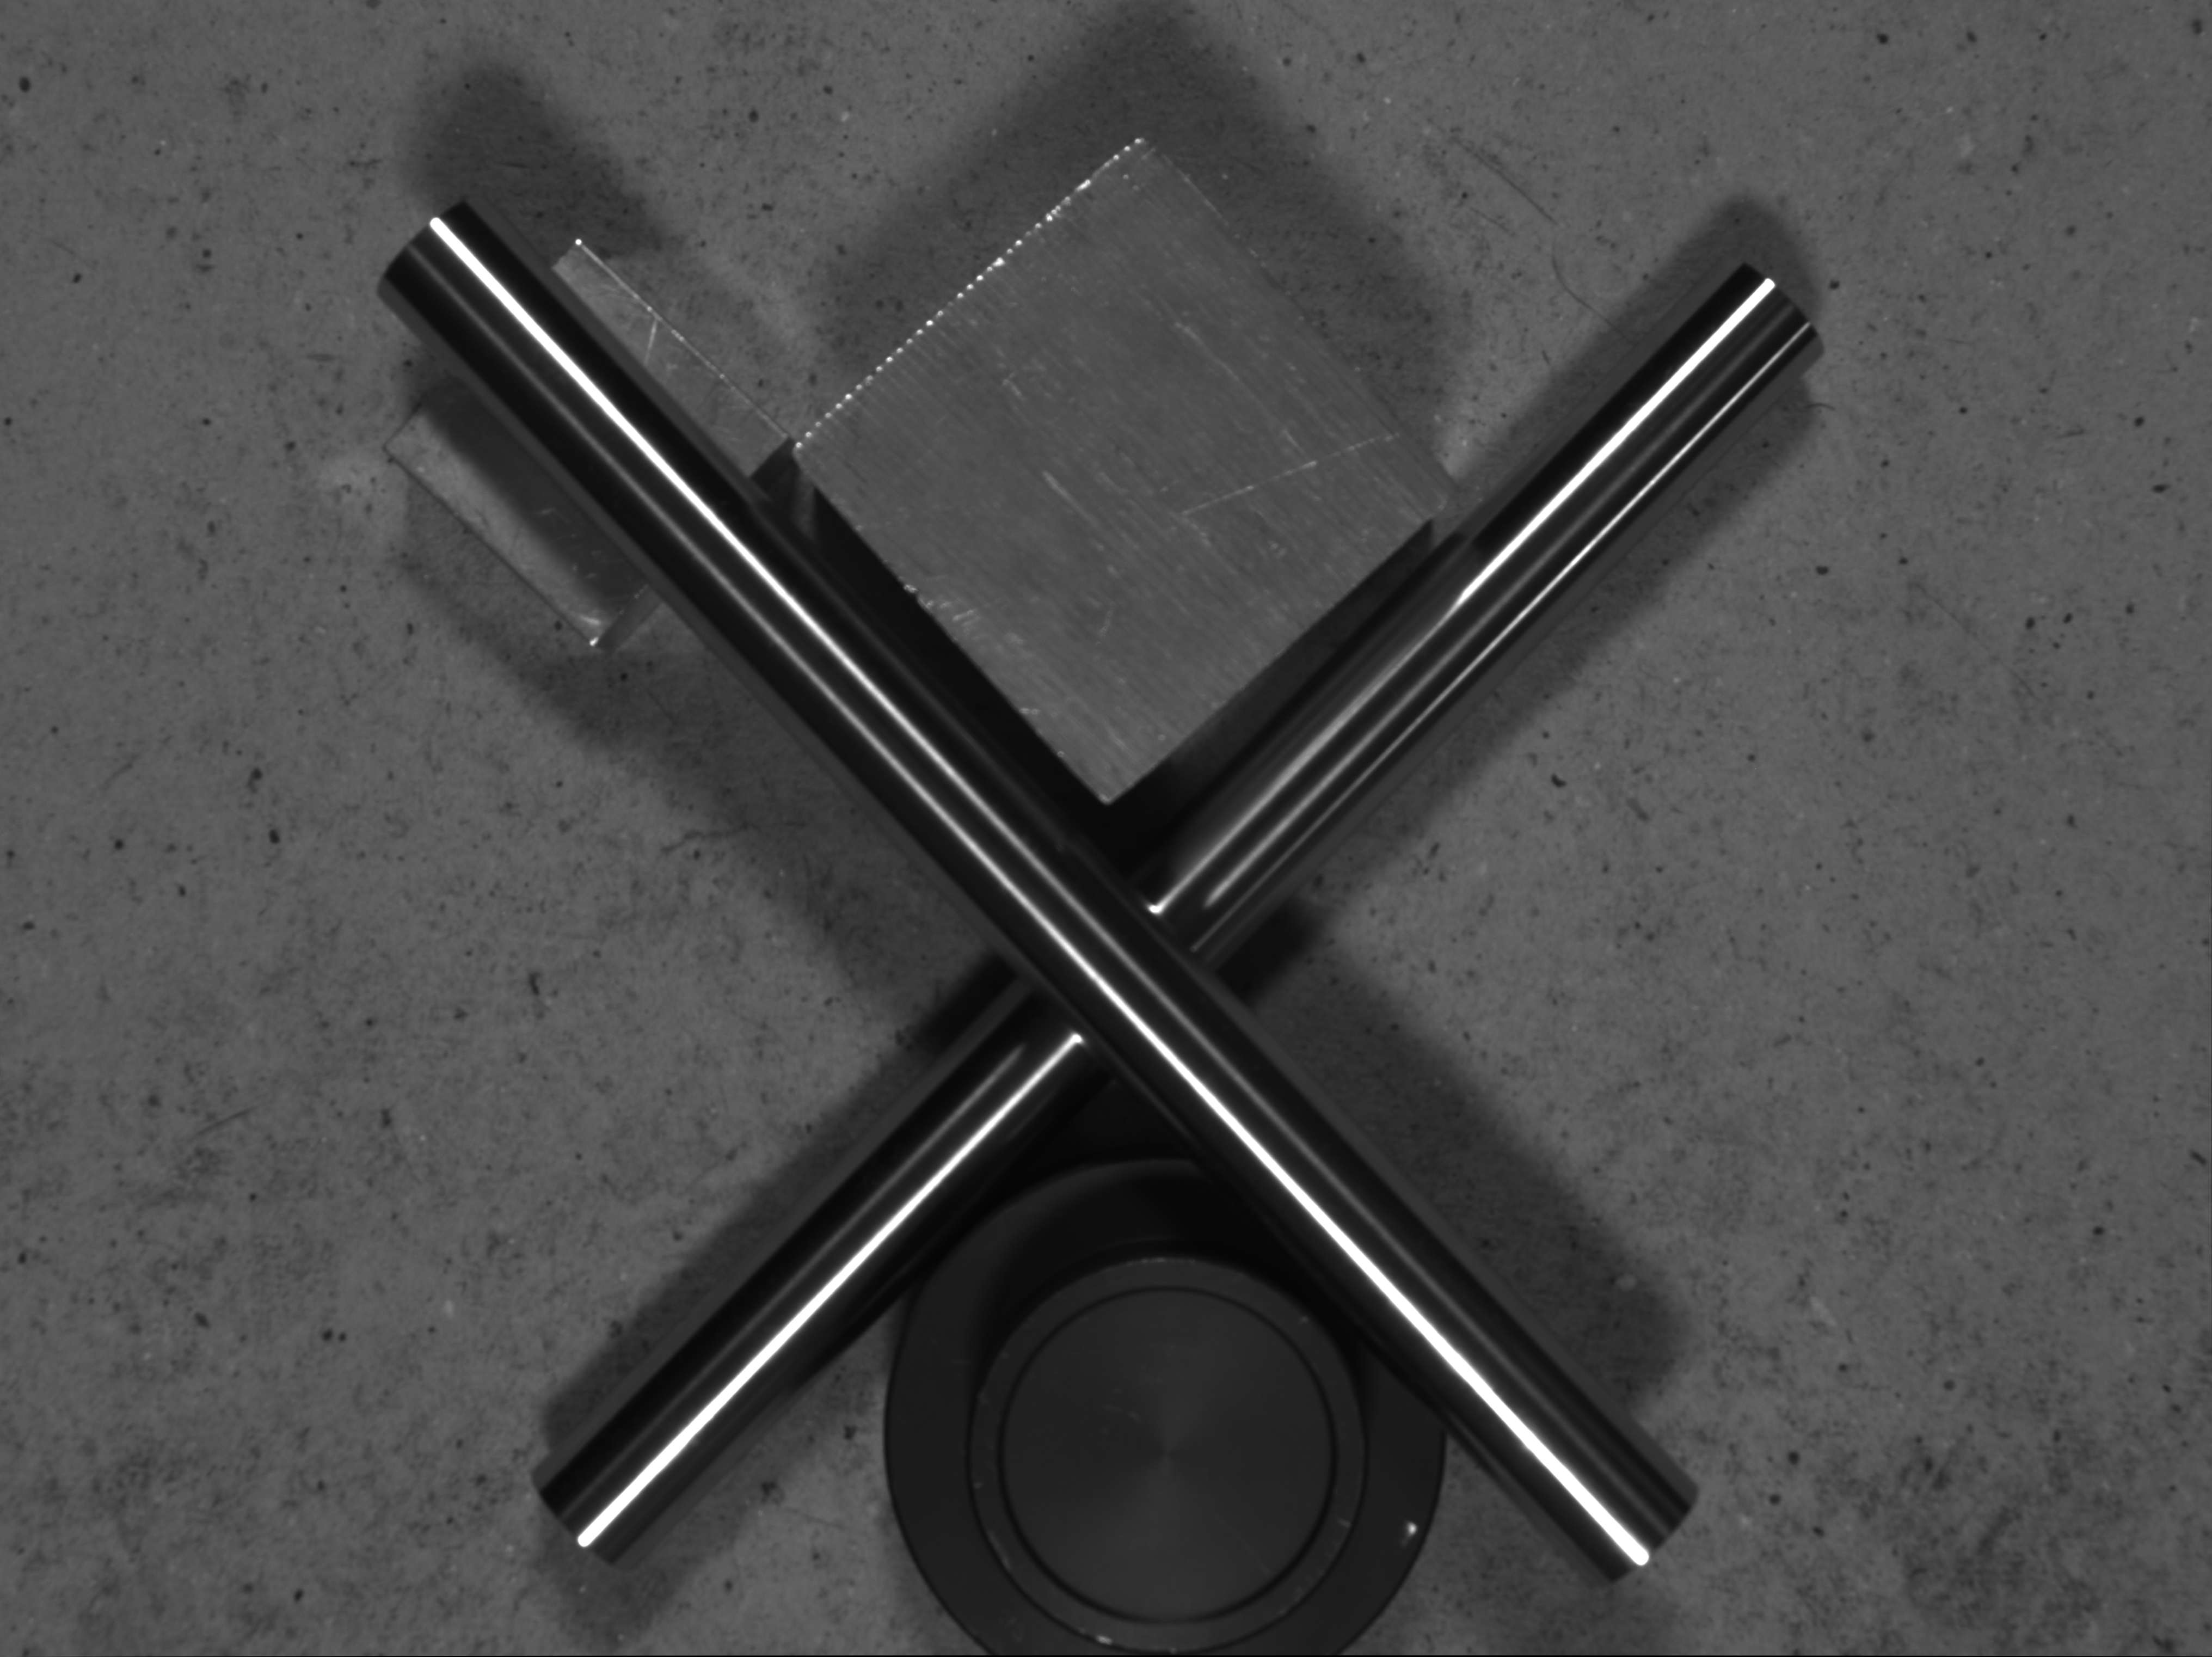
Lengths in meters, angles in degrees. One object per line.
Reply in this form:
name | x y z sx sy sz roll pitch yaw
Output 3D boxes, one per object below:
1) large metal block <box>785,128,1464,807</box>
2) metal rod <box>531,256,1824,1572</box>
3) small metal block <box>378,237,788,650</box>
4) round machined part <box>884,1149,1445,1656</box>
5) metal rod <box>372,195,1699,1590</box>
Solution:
large metal block | 0.003 -0.060 0.634 0.080 0.050 0.080 -42 90 0
metal rod | 0.013 0.015 0.647 0.025 0.025 0.300 44 90 0
small metal block | -0.091 -0.067 0.646 0.050 0.025 0.050 43 90 0
round machined part | 0.010 0.106 0.636 0.098 0.042 0.098 0 90 0
metal rod | -0.012 0.011 0.620 0.025 0.025 0.300 -43 90 0
